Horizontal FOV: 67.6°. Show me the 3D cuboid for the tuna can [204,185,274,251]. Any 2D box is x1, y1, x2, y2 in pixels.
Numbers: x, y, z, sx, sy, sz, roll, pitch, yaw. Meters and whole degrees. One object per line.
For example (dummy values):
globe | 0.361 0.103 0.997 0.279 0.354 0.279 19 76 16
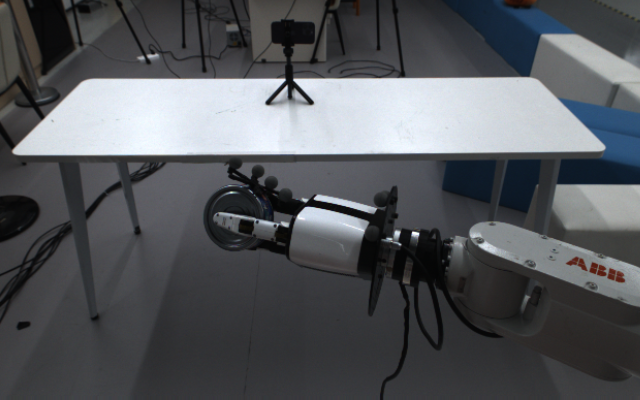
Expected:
tuna can | -0.101 0.029 0.618 0.085 0.085 0.034 13 4 15
